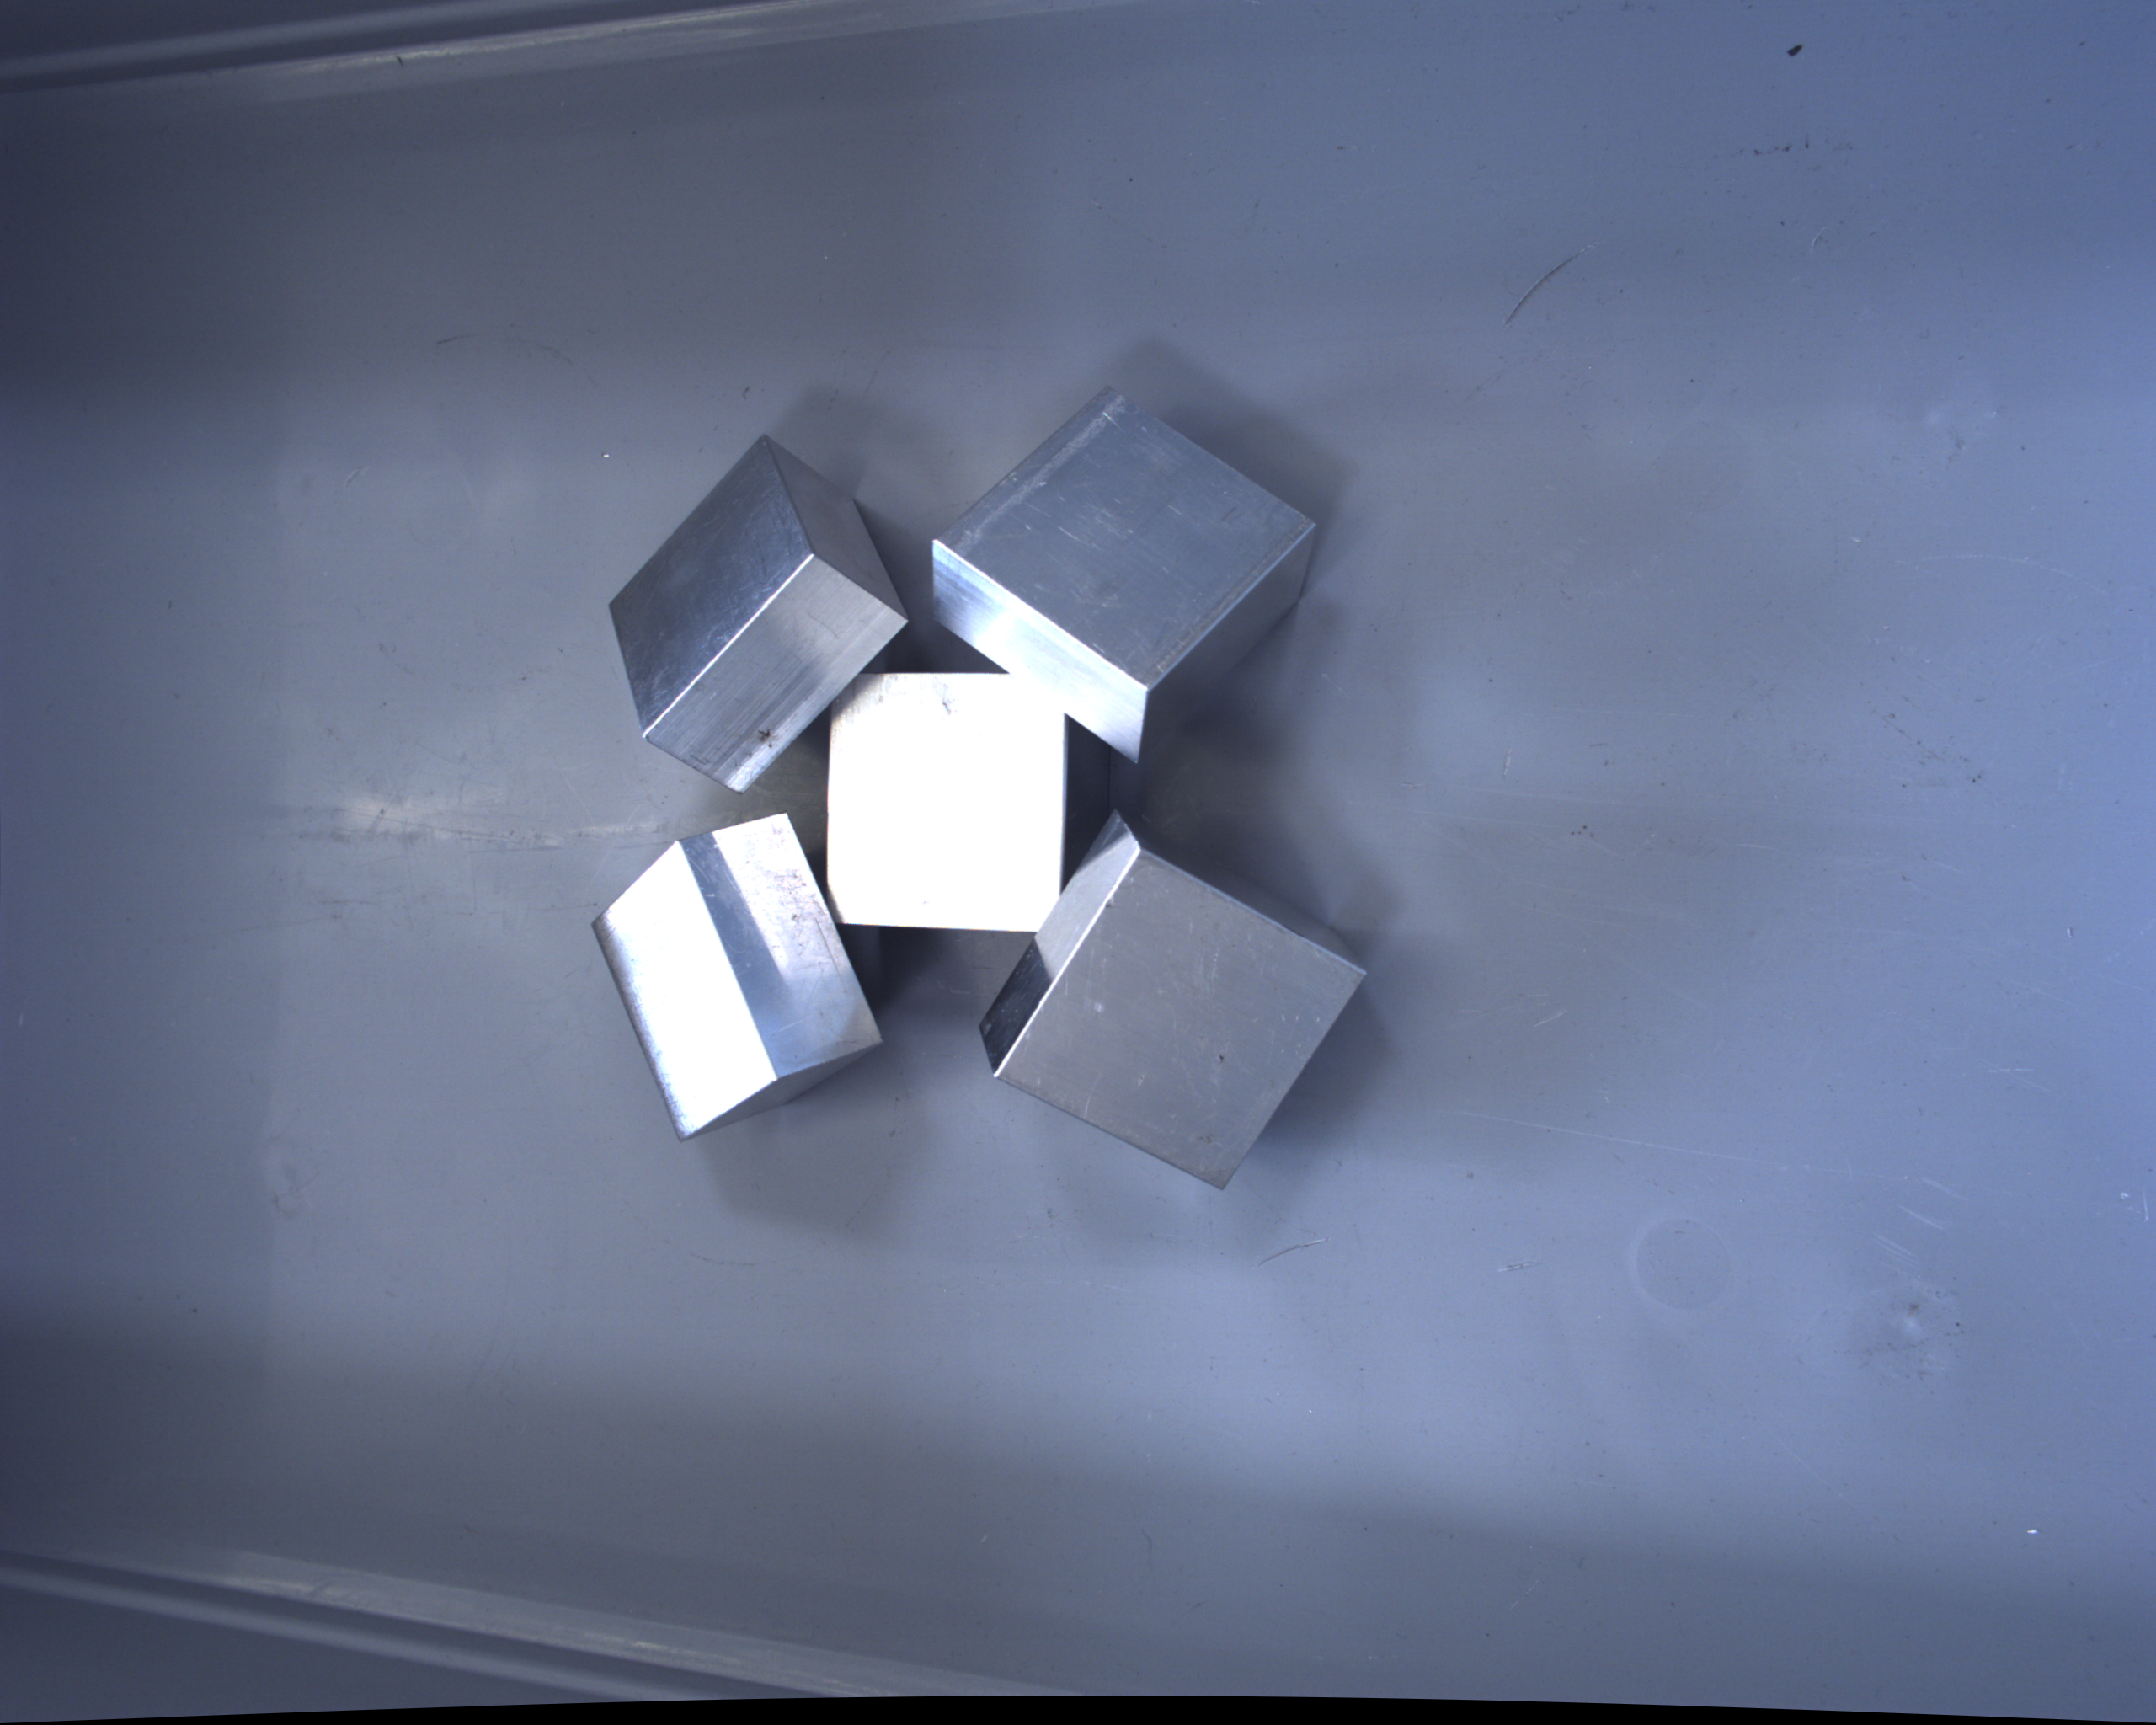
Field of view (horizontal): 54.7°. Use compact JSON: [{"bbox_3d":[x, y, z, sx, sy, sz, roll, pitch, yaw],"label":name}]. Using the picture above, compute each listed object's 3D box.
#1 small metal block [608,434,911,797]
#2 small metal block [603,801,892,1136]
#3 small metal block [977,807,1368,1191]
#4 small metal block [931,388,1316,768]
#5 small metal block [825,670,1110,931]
[{"bbox_3d":[-0.065,-0.050,0.418,0.050,0.025,0.050,-44,39,15],"label":"small metal block"},{"bbox_3d":[-0.068,0.022,0.420,0.050,0.025,0.050,-36,76,55],"label":"small metal block"},{"bbox_3d":[0.017,0.026,0.390,0.050,0.025,0.050,29,101,-17],"label":"small metal block"},{"bbox_3d":[0.008,-0.054,0.393,0.050,0.025,0.050,37,64,16],"label":"small metal block"},{"bbox_3d":[-0.022,-0.012,0.415,0.050,0.025,0.050,2,91,20],"label":"small metal block"}]
